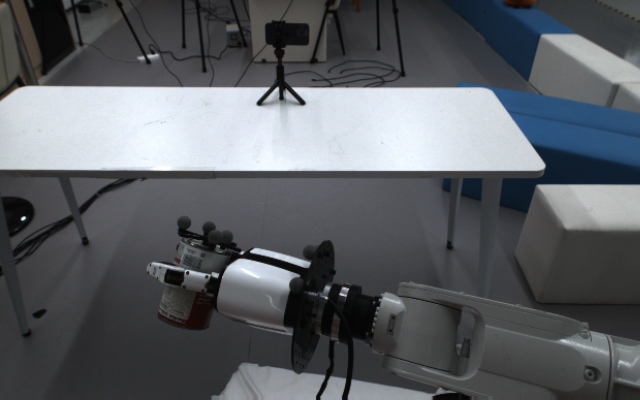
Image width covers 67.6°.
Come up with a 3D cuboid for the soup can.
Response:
[{"bbox_3d":[-0.155,0.105,0.610,0.067,0.101,0.067,18,-1,0],"label":"soup can"}]
